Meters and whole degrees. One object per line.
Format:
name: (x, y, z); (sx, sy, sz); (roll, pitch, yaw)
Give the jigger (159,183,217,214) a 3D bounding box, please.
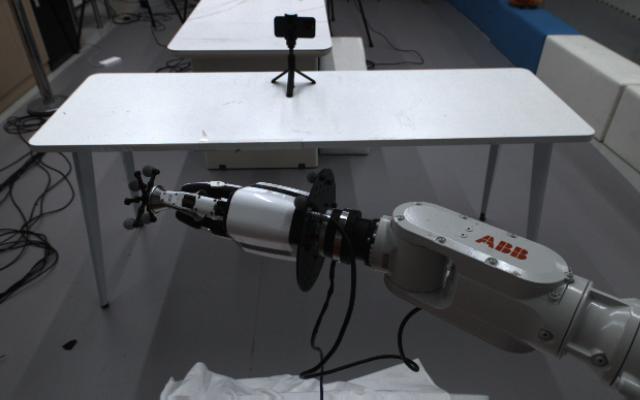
jigger: (-0.188, 0.001, 0.663); (0.071, 0.043, 0.043); (8, 35, 13)
